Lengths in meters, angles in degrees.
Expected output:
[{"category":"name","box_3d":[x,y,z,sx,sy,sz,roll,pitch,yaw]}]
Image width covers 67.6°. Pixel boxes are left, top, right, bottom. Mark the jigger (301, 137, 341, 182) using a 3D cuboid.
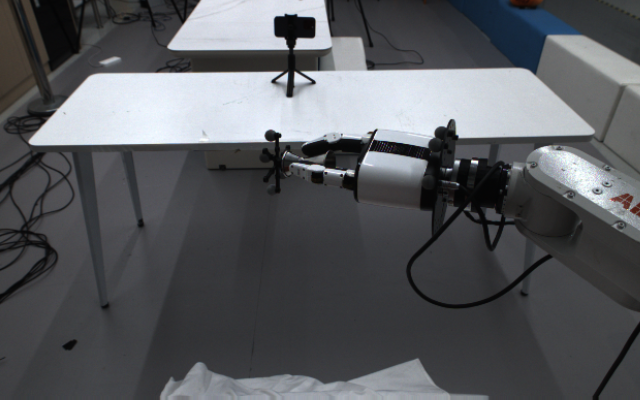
[{"category":"jigger","box_3d":[-0.010,-0.054,0.696,0.071,0.043,0.043,4,33,22]}]
